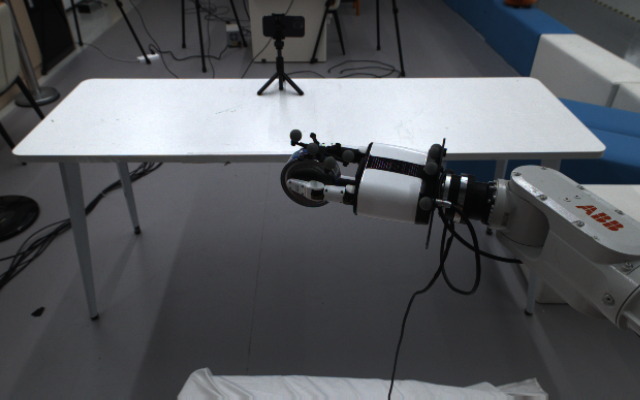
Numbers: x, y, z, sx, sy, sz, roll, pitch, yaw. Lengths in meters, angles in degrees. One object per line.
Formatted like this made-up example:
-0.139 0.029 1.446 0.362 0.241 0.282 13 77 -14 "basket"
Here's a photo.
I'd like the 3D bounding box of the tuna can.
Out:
-0.013 -0.033 0.721 0.085 0.085 0.034 9 35 10 "tuna can"
